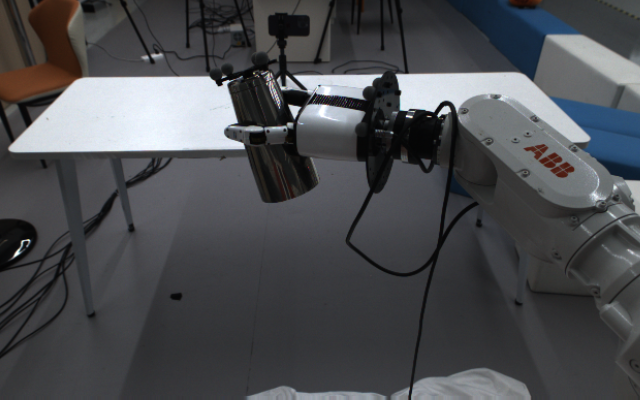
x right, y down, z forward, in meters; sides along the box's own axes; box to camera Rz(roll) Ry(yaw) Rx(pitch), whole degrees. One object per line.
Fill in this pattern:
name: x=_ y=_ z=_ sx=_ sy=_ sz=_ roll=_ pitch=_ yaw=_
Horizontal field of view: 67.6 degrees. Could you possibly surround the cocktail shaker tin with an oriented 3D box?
cocktail shaker tin: x=-0.069 y=-0.092 z=0.686 sx=0.093 sy=0.170 sz=0.093 roll=-17 pitch=21 yaw=7
